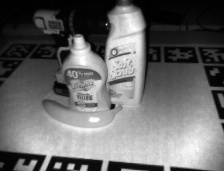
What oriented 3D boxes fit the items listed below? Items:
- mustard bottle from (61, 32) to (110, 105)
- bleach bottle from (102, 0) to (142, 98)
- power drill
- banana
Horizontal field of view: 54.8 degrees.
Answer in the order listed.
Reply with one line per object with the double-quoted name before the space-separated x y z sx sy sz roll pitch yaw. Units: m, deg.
"mustard bottle" -0.059 -0.034 0.472 0.096 0.193 0.058 2 42 8
"bleach bottle" 0.017 -0.087 0.490 0.102 0.252 0.068 3 37 10
"power drill" -0.090 -0.097 0.516 0.183 0.188 0.057 11 43 16
"banana" -0.077 0.050 0.510 0.196 0.039 0.074 4 43 13
